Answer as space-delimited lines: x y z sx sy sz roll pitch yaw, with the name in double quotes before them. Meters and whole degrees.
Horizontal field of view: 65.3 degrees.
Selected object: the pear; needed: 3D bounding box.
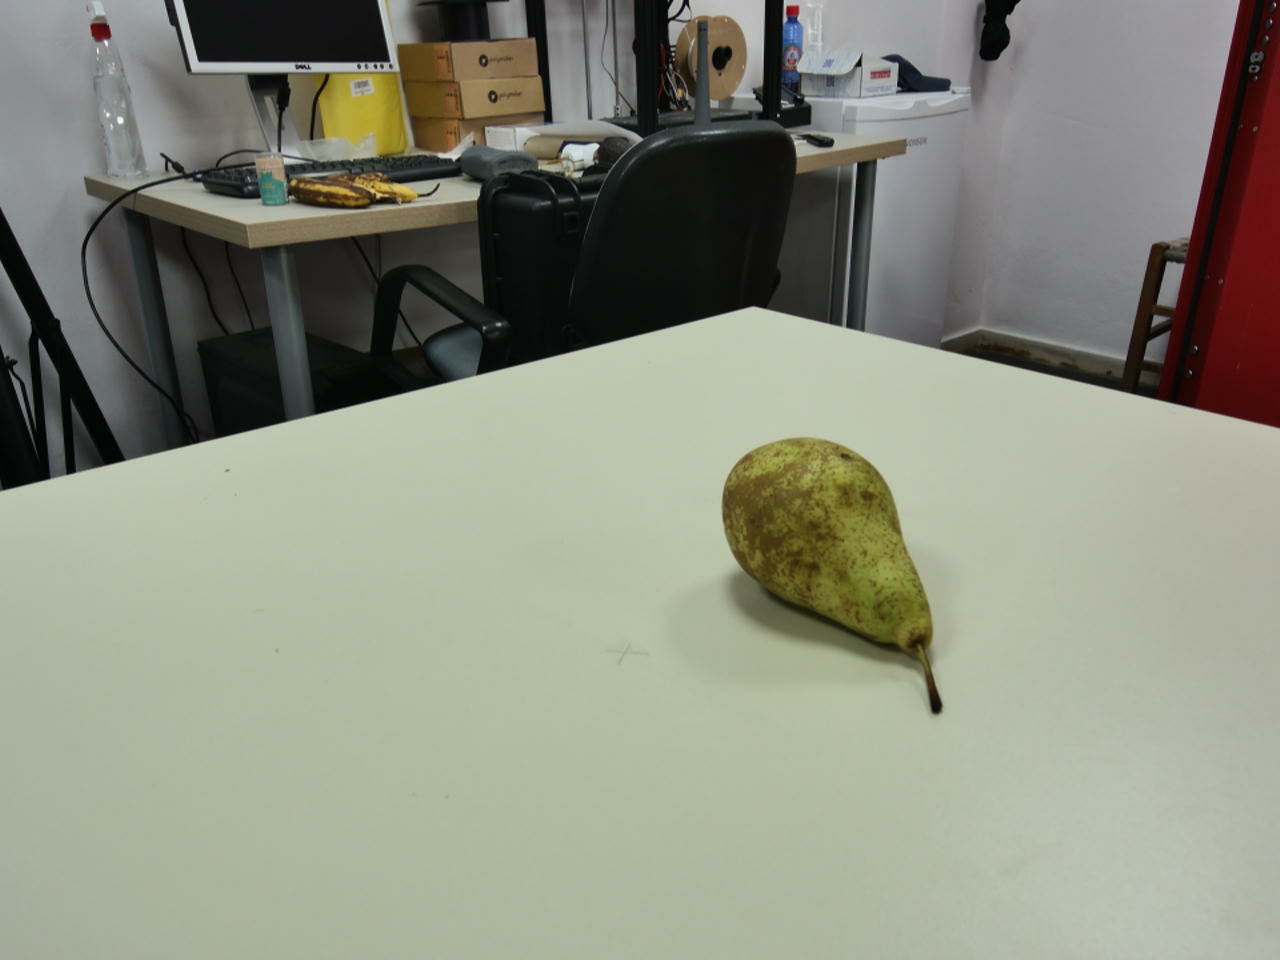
"pear" 0.089 0.025 0.424 0.128 0.075 0.071 20 29 39
